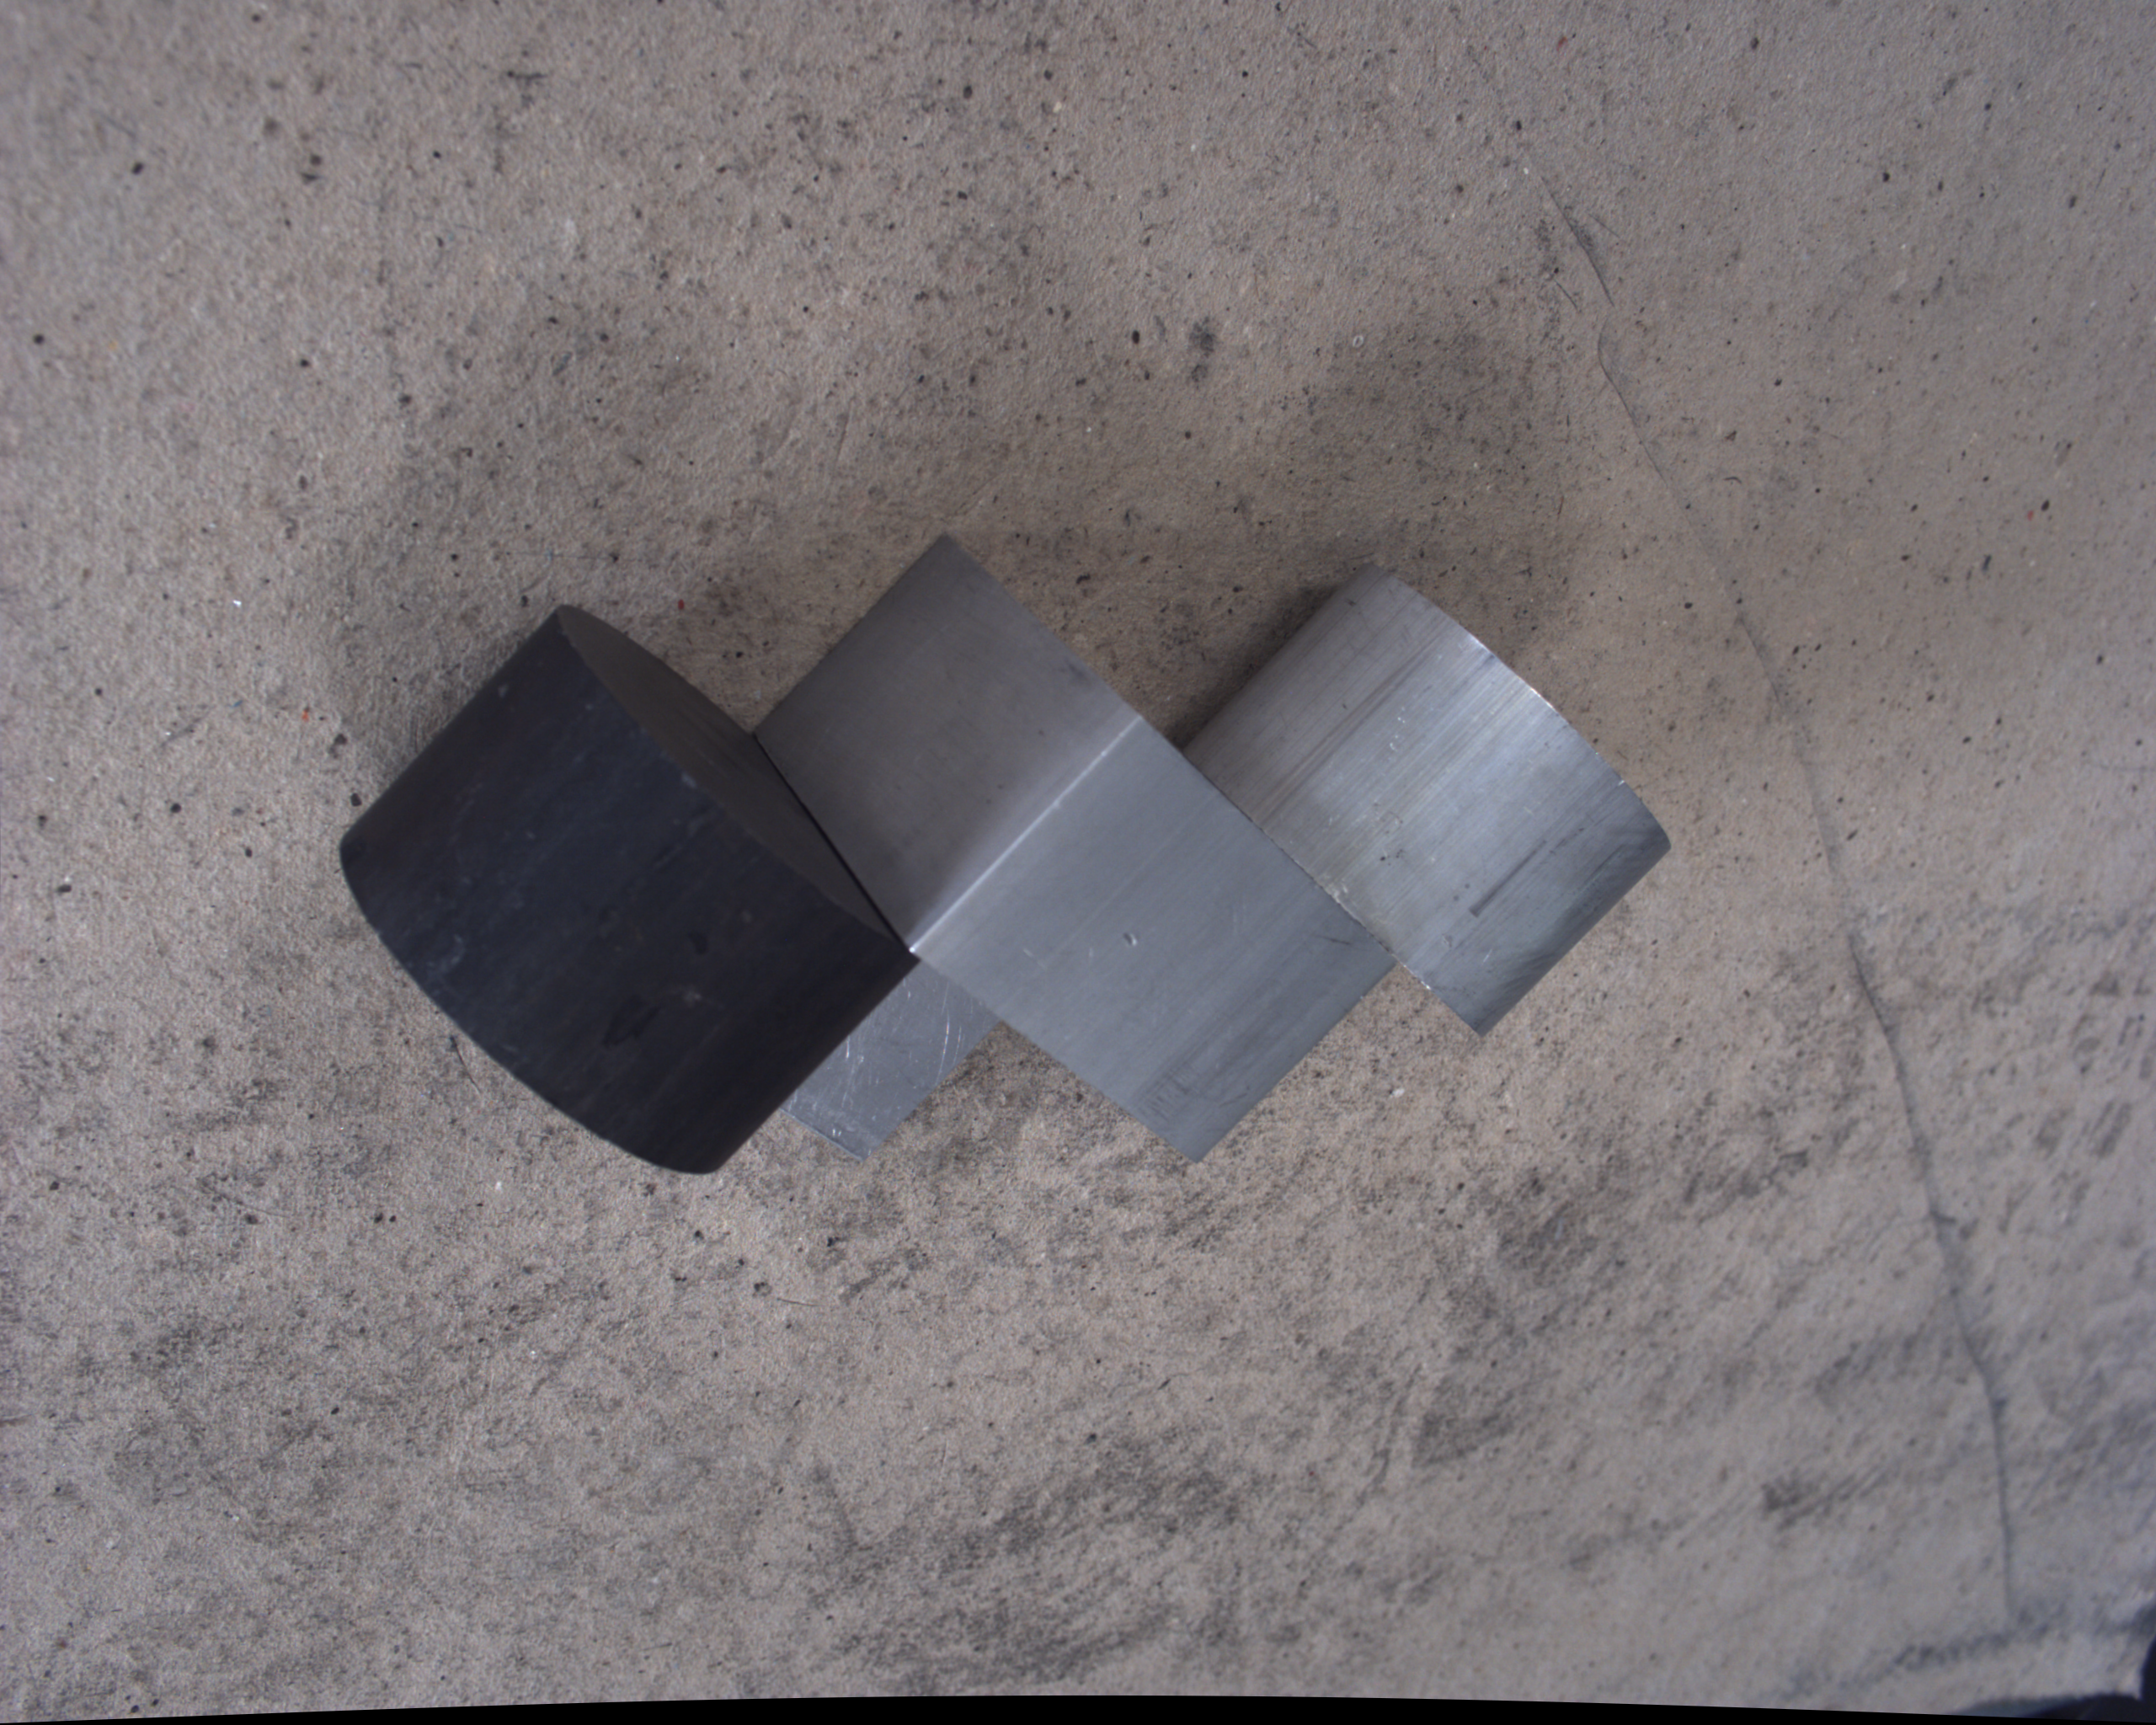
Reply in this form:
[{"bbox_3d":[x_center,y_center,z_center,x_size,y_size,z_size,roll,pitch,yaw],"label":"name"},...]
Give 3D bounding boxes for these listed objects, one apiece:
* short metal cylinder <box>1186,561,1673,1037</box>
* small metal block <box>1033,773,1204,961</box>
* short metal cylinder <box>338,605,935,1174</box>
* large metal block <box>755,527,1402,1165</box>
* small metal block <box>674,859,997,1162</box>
[{"bbox_3d":[0.066,-0.012,0.402,0.050,0.080,0.080,-46,129,4],"label":"short metal cylinder"},{"bbox_3d":[0.026,0.016,0.433,0.050,0.025,0.050,-46,129,4],"label":"small metal block"},{"bbox_3d":[-0.070,0.004,0.337,0.050,0.080,0.080,-46,129,4],"label":"short metal cylinder"},{"bbox_3d":[-0.002,-0.004,0.371,0.050,0.080,0.080,-47,130,4],"label":"large metal block"},{"bbox_3d":[-0.045,0.022,0.398,0.050,0.025,0.050,-46,129,4],"label":"small metal block"}]
